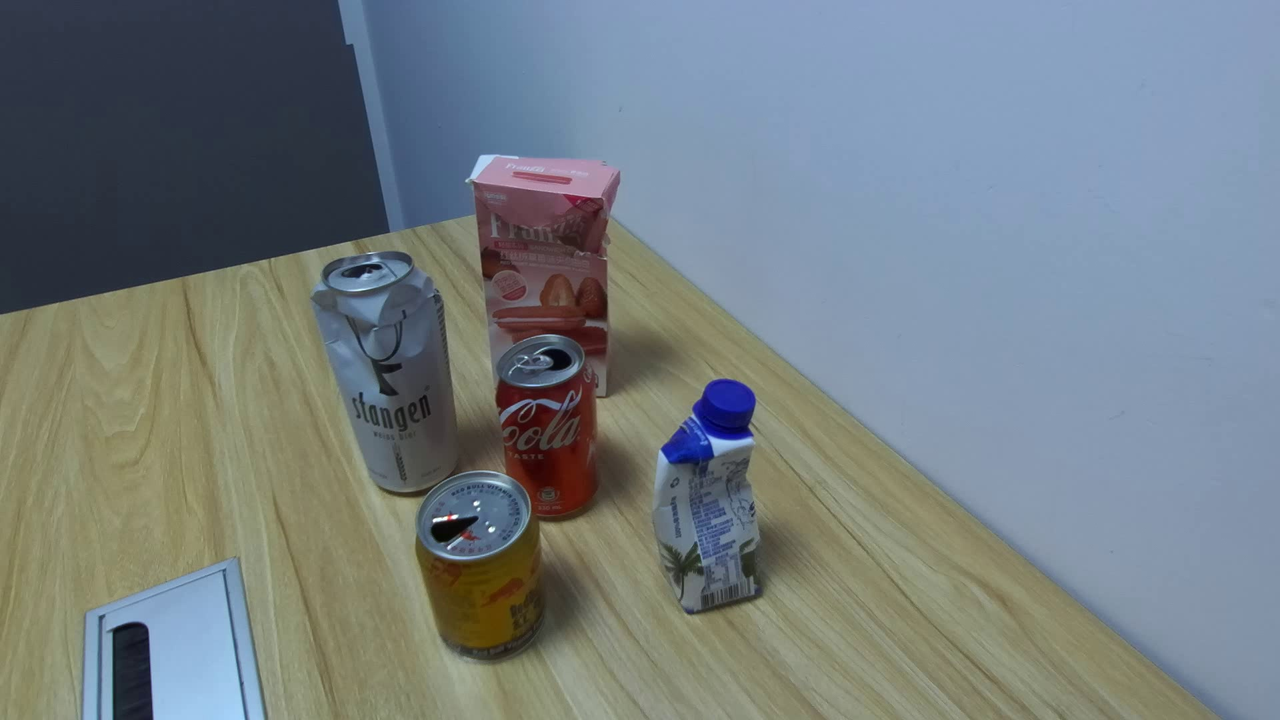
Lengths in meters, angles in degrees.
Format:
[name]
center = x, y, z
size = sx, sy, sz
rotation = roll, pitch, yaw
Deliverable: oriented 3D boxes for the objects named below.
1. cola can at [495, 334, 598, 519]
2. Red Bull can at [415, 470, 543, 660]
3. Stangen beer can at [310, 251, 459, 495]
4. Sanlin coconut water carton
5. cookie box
[cola can]
center = -0.059, 0.047, 0.473
size = 0.065, 0.117, 0.072
rotation = 14, 39, 14
[Red Bull can]
center = -0.087, 0.116, 0.398
size = 0.067, 0.093, 0.067
rotation = 1, 37, -1
[Stangen beer can]
center = -0.164, 0.011, 0.474
size = 0.065, 0.166, 0.066
rotation = 21, 41, 24
[Sanlin coconut water carton]
center = 0.035, 0.077, 0.412
size = 0.068, 0.145, 0.056
rotation = -17, 33, -11
[cookie box]
center = -0.071, -0.058, 0.548
size = 0.105, 0.186, 0.059
rotation = 7, 38, 4
